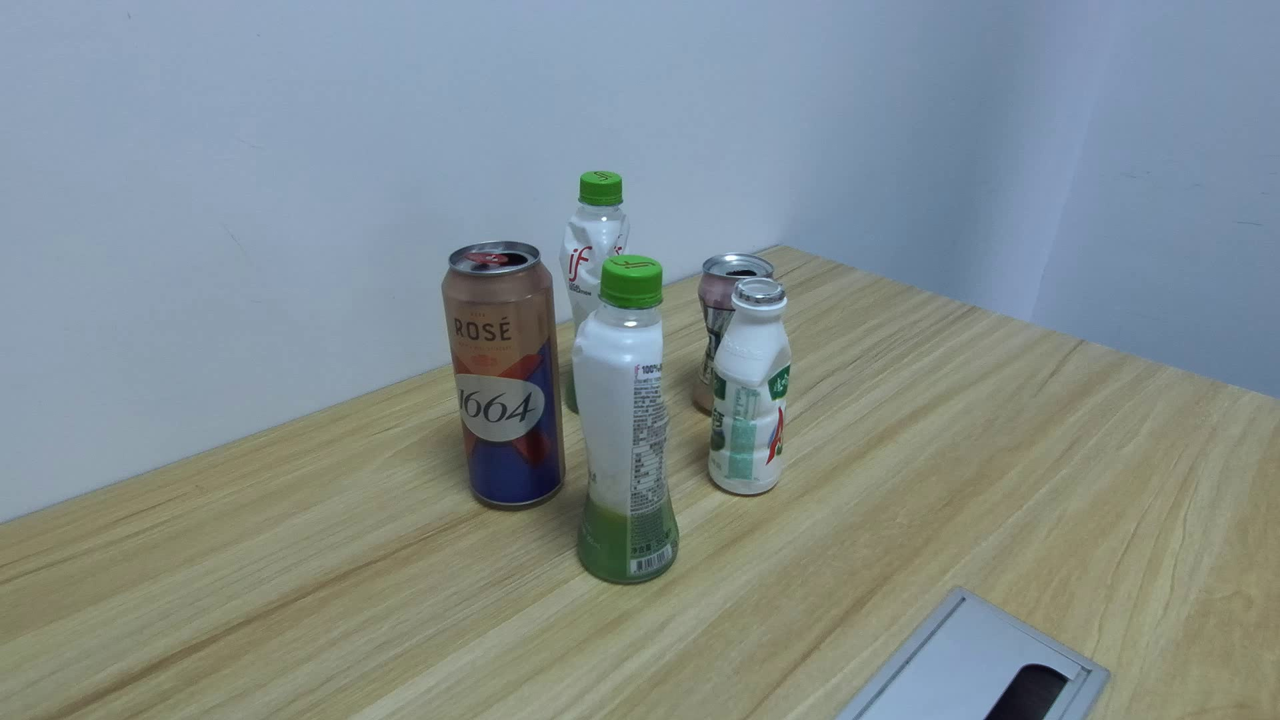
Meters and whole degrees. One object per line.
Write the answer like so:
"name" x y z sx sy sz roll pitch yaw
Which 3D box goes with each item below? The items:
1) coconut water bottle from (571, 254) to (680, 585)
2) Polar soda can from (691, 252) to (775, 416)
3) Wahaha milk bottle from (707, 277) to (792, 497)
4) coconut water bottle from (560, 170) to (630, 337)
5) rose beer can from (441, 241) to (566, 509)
"coconut water bottle" -0.007 0.034 0.395 0.069 0.187 0.069 0 26 0
"Polar soda can" 0.074 -0.018 0.561 0.074 0.122 0.067 -26 36 -38
"Wahaha milk bottle" 0.074 0.019 0.465 0.056 0.148 0.056 1 27 0
"coconut water bottle" -0.030 -0.049 0.549 0.067 0.187 0.067 2 25 -1
"rose beer can" -0.086 0.013 0.464 0.068 0.169 0.068 -1 26 1
